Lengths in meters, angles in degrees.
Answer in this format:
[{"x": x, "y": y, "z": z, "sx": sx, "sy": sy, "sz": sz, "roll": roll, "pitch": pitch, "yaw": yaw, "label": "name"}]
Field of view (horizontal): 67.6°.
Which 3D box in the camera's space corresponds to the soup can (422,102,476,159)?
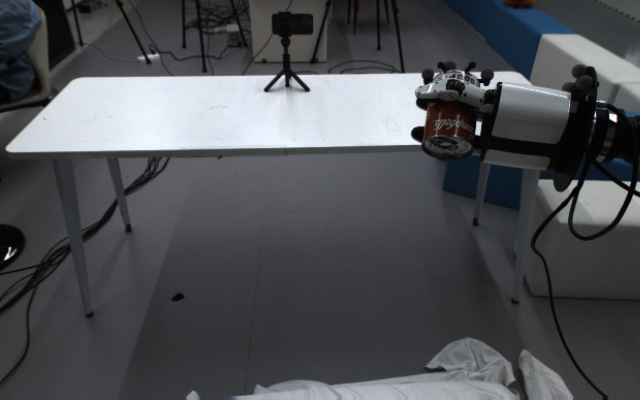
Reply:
[{"x": 0.178, "y": -0.115, "z": 0.651, "sx": 0.067, "sy": 0.067, "sz": 0.101, "roll": 9, "pitch": 70, "yaw": 10, "label": "soup can"}]
